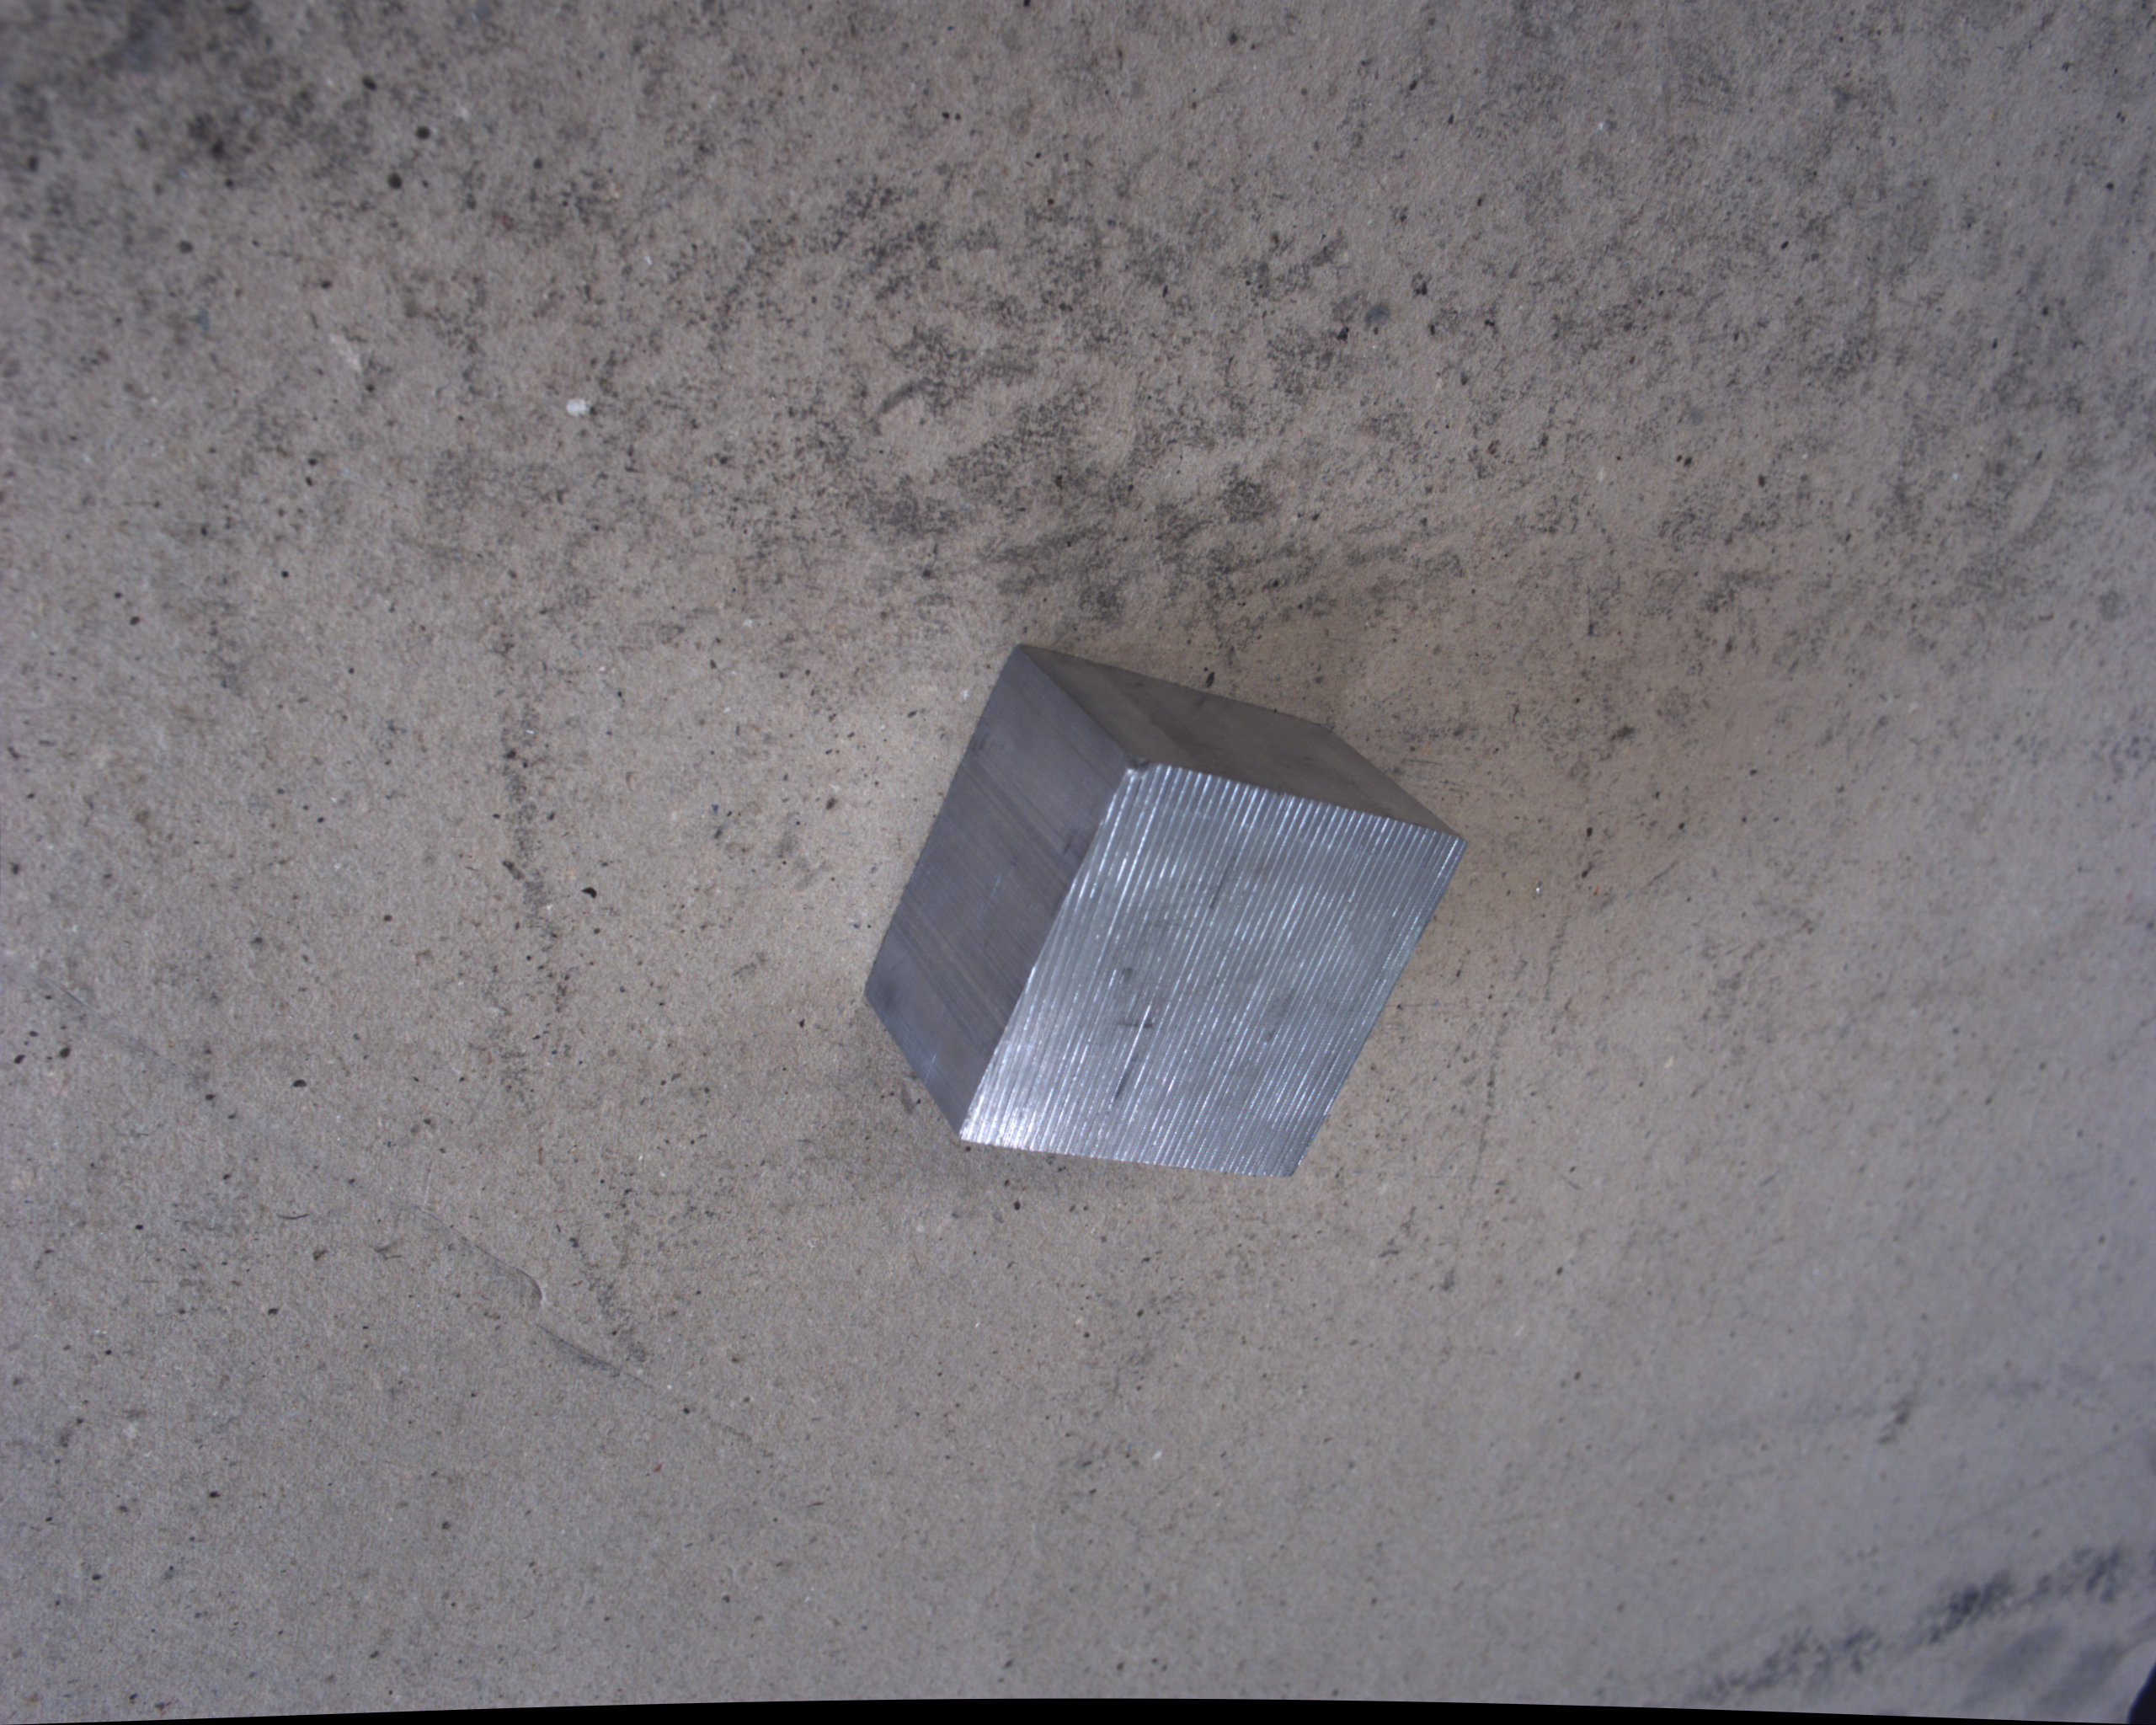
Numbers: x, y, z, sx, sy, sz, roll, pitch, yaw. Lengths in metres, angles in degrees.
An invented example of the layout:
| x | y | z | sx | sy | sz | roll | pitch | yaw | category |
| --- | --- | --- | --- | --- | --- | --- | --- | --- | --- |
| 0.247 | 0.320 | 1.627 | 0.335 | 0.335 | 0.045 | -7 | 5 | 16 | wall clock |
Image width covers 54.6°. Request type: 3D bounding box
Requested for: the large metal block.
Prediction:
| x | y | z | sx | sy | sz | roll | pitch | yaw | category |
| --- | --- | --- | --- | --- | --- | --- | --- | --- | --- |
| 0.015 | 0.011 | 0.407 | 0.081 | 0.050 | 0.080 | 11 | 113 | -34 | large metal block |
